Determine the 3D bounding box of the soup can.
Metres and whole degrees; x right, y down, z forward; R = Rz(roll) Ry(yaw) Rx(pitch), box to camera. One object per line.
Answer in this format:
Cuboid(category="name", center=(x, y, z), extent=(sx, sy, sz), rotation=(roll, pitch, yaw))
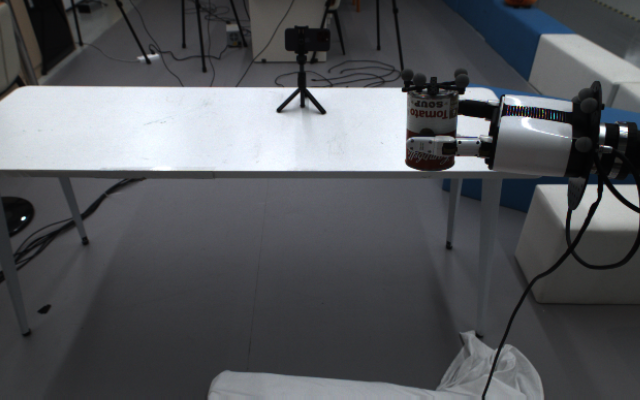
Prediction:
Cuboid(category="soup can", center=(0.151, -0.100, 0.653), extent=(0.067, 0.101, 0.067), rotation=(-3, 27, 2))
